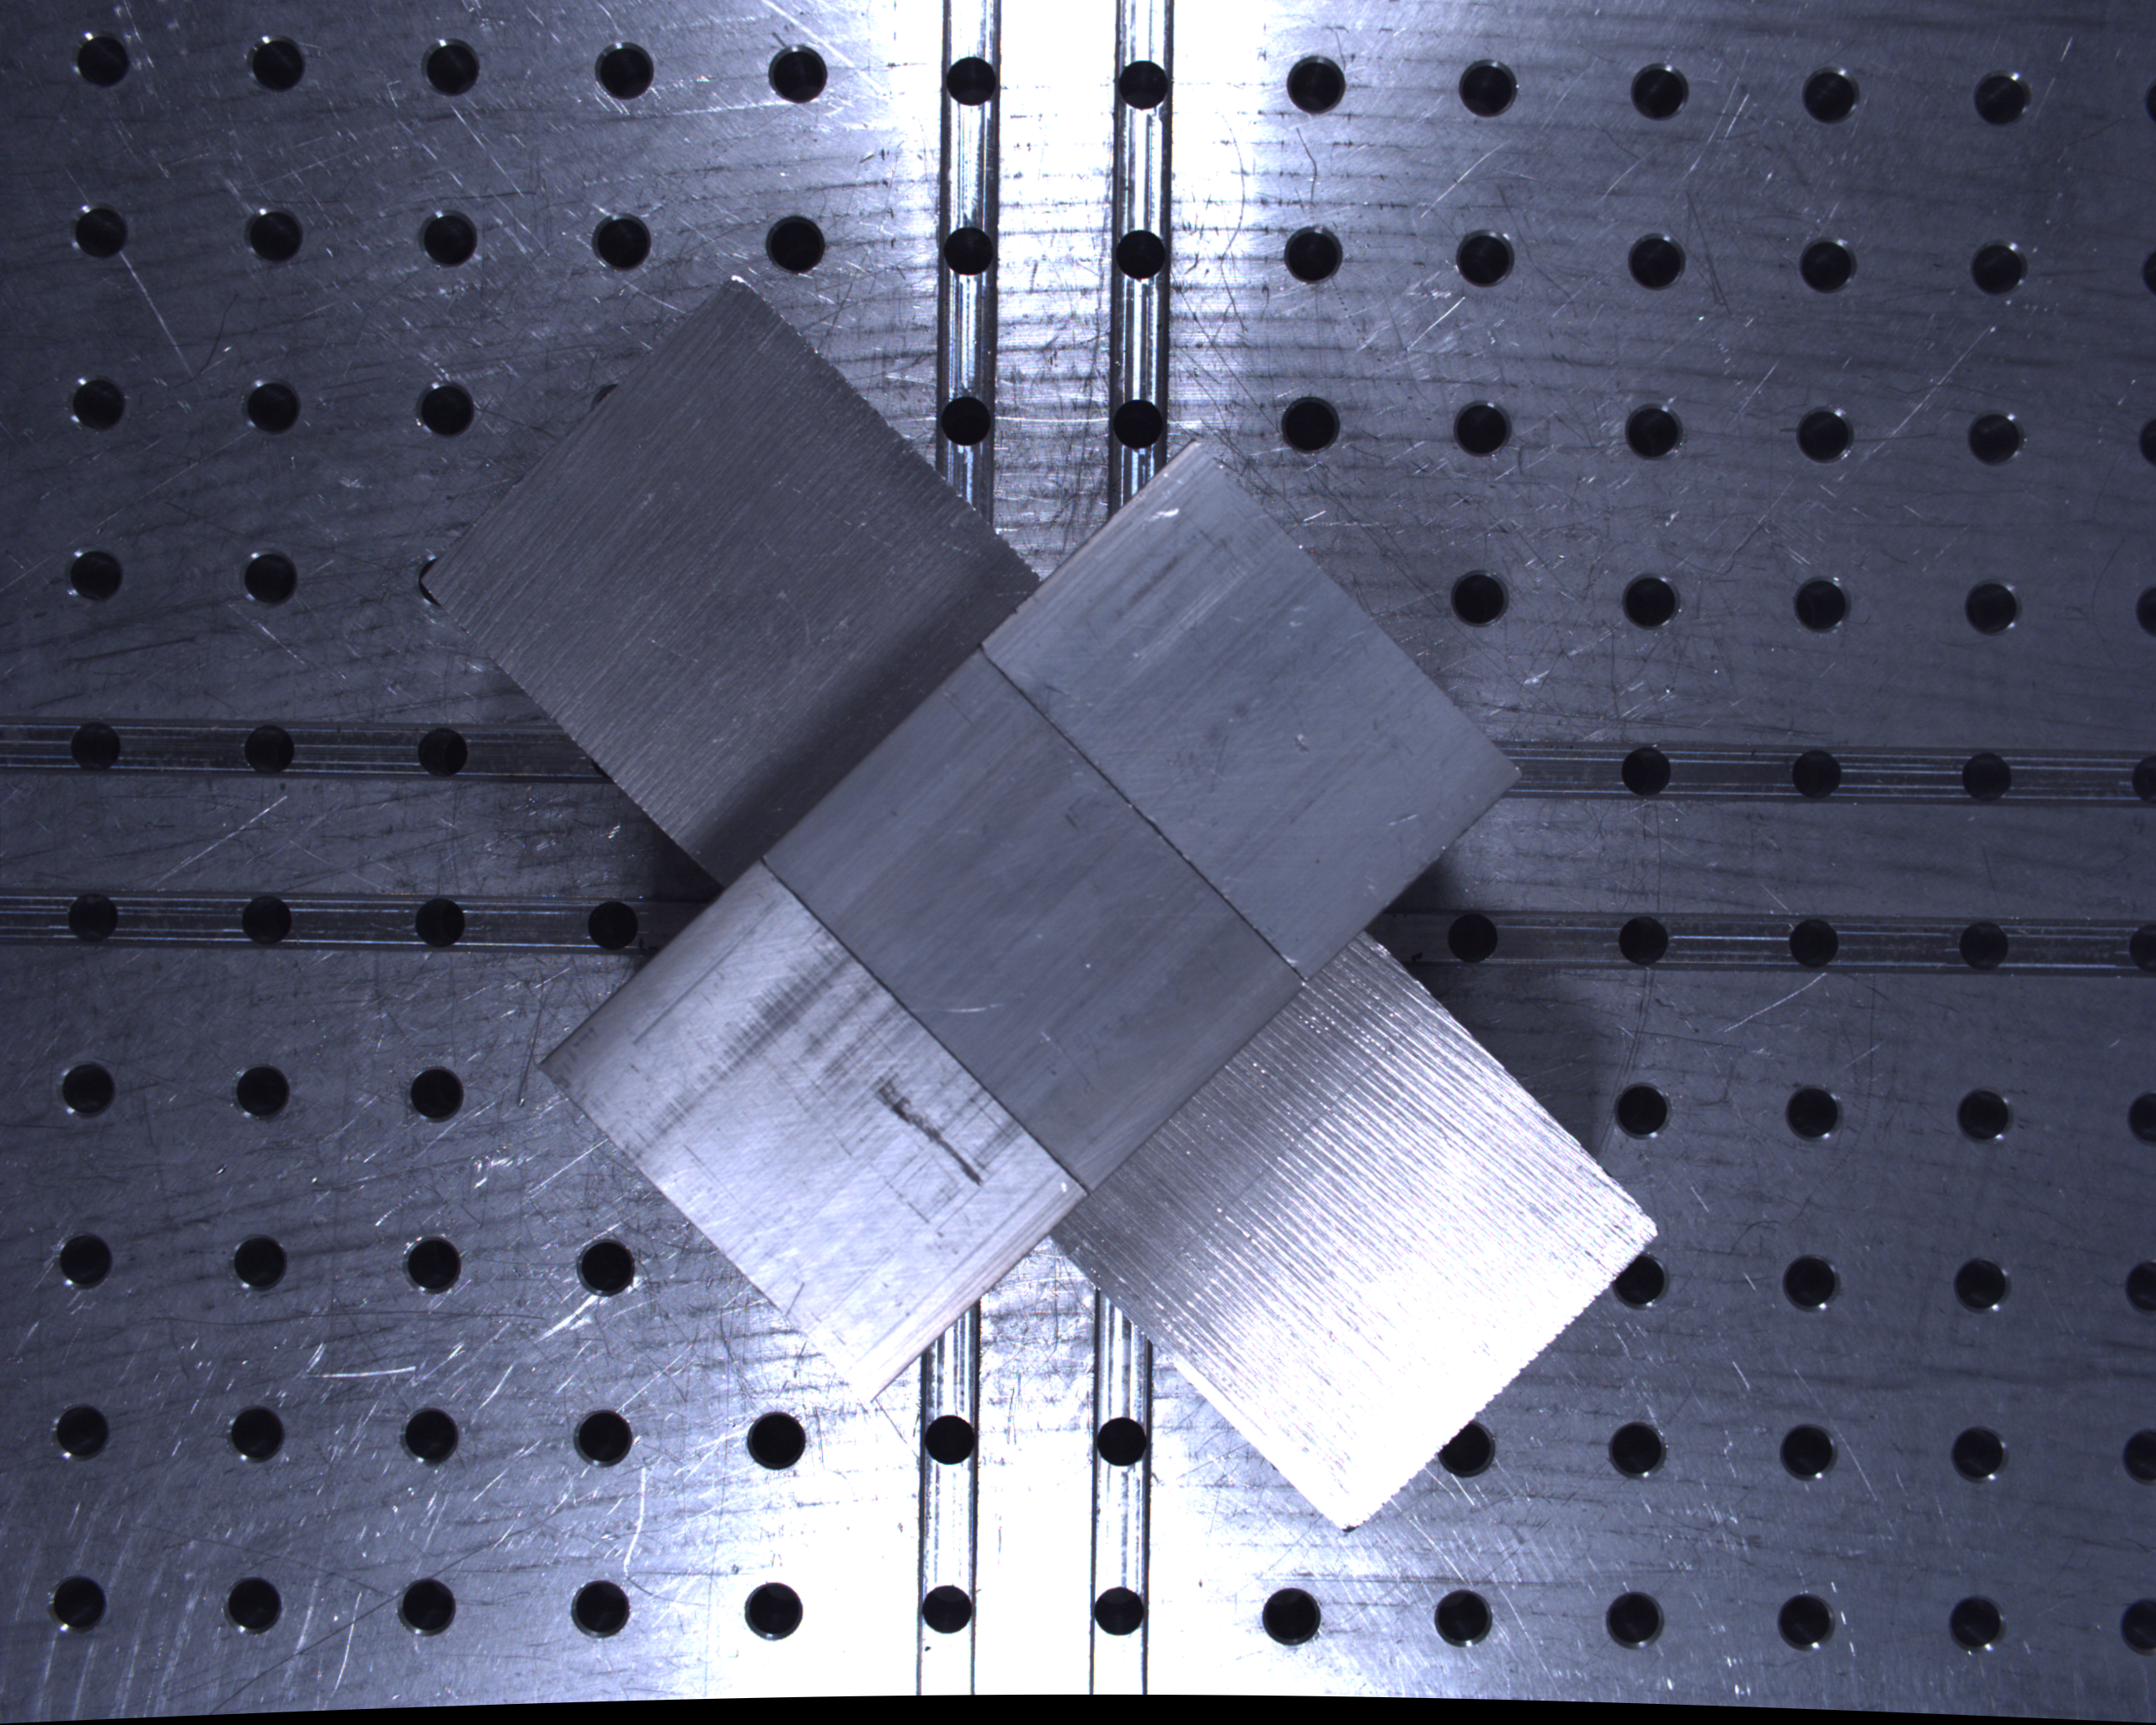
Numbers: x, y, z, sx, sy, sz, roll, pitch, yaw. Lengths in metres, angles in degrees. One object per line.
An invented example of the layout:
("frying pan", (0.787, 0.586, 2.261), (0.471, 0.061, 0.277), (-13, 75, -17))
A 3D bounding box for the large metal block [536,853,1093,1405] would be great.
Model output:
("large metal block", (-0.044, 0.044, 0.386), (0.050, 0.080, 0.080), (-44, 91, 0))

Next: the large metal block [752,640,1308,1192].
("large metal block", (-0.008, 0.009, 0.386), (0.050, 0.080, 0.080), (-44, 91, 0))

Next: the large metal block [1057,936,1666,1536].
("large metal block", (0.050, 0.065, 0.402), (0.080, 0.050, 0.080), (-44, 91, 1))

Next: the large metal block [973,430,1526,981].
("large metal block", (0.028, -0.026, 0.387), (0.050, 0.080, 0.080), (-44, 91, 0))

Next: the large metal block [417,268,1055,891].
("large metal block", (-0.061, -0.050, 0.397), (0.080, 0.050, 0.080), (45, 91, -1))
